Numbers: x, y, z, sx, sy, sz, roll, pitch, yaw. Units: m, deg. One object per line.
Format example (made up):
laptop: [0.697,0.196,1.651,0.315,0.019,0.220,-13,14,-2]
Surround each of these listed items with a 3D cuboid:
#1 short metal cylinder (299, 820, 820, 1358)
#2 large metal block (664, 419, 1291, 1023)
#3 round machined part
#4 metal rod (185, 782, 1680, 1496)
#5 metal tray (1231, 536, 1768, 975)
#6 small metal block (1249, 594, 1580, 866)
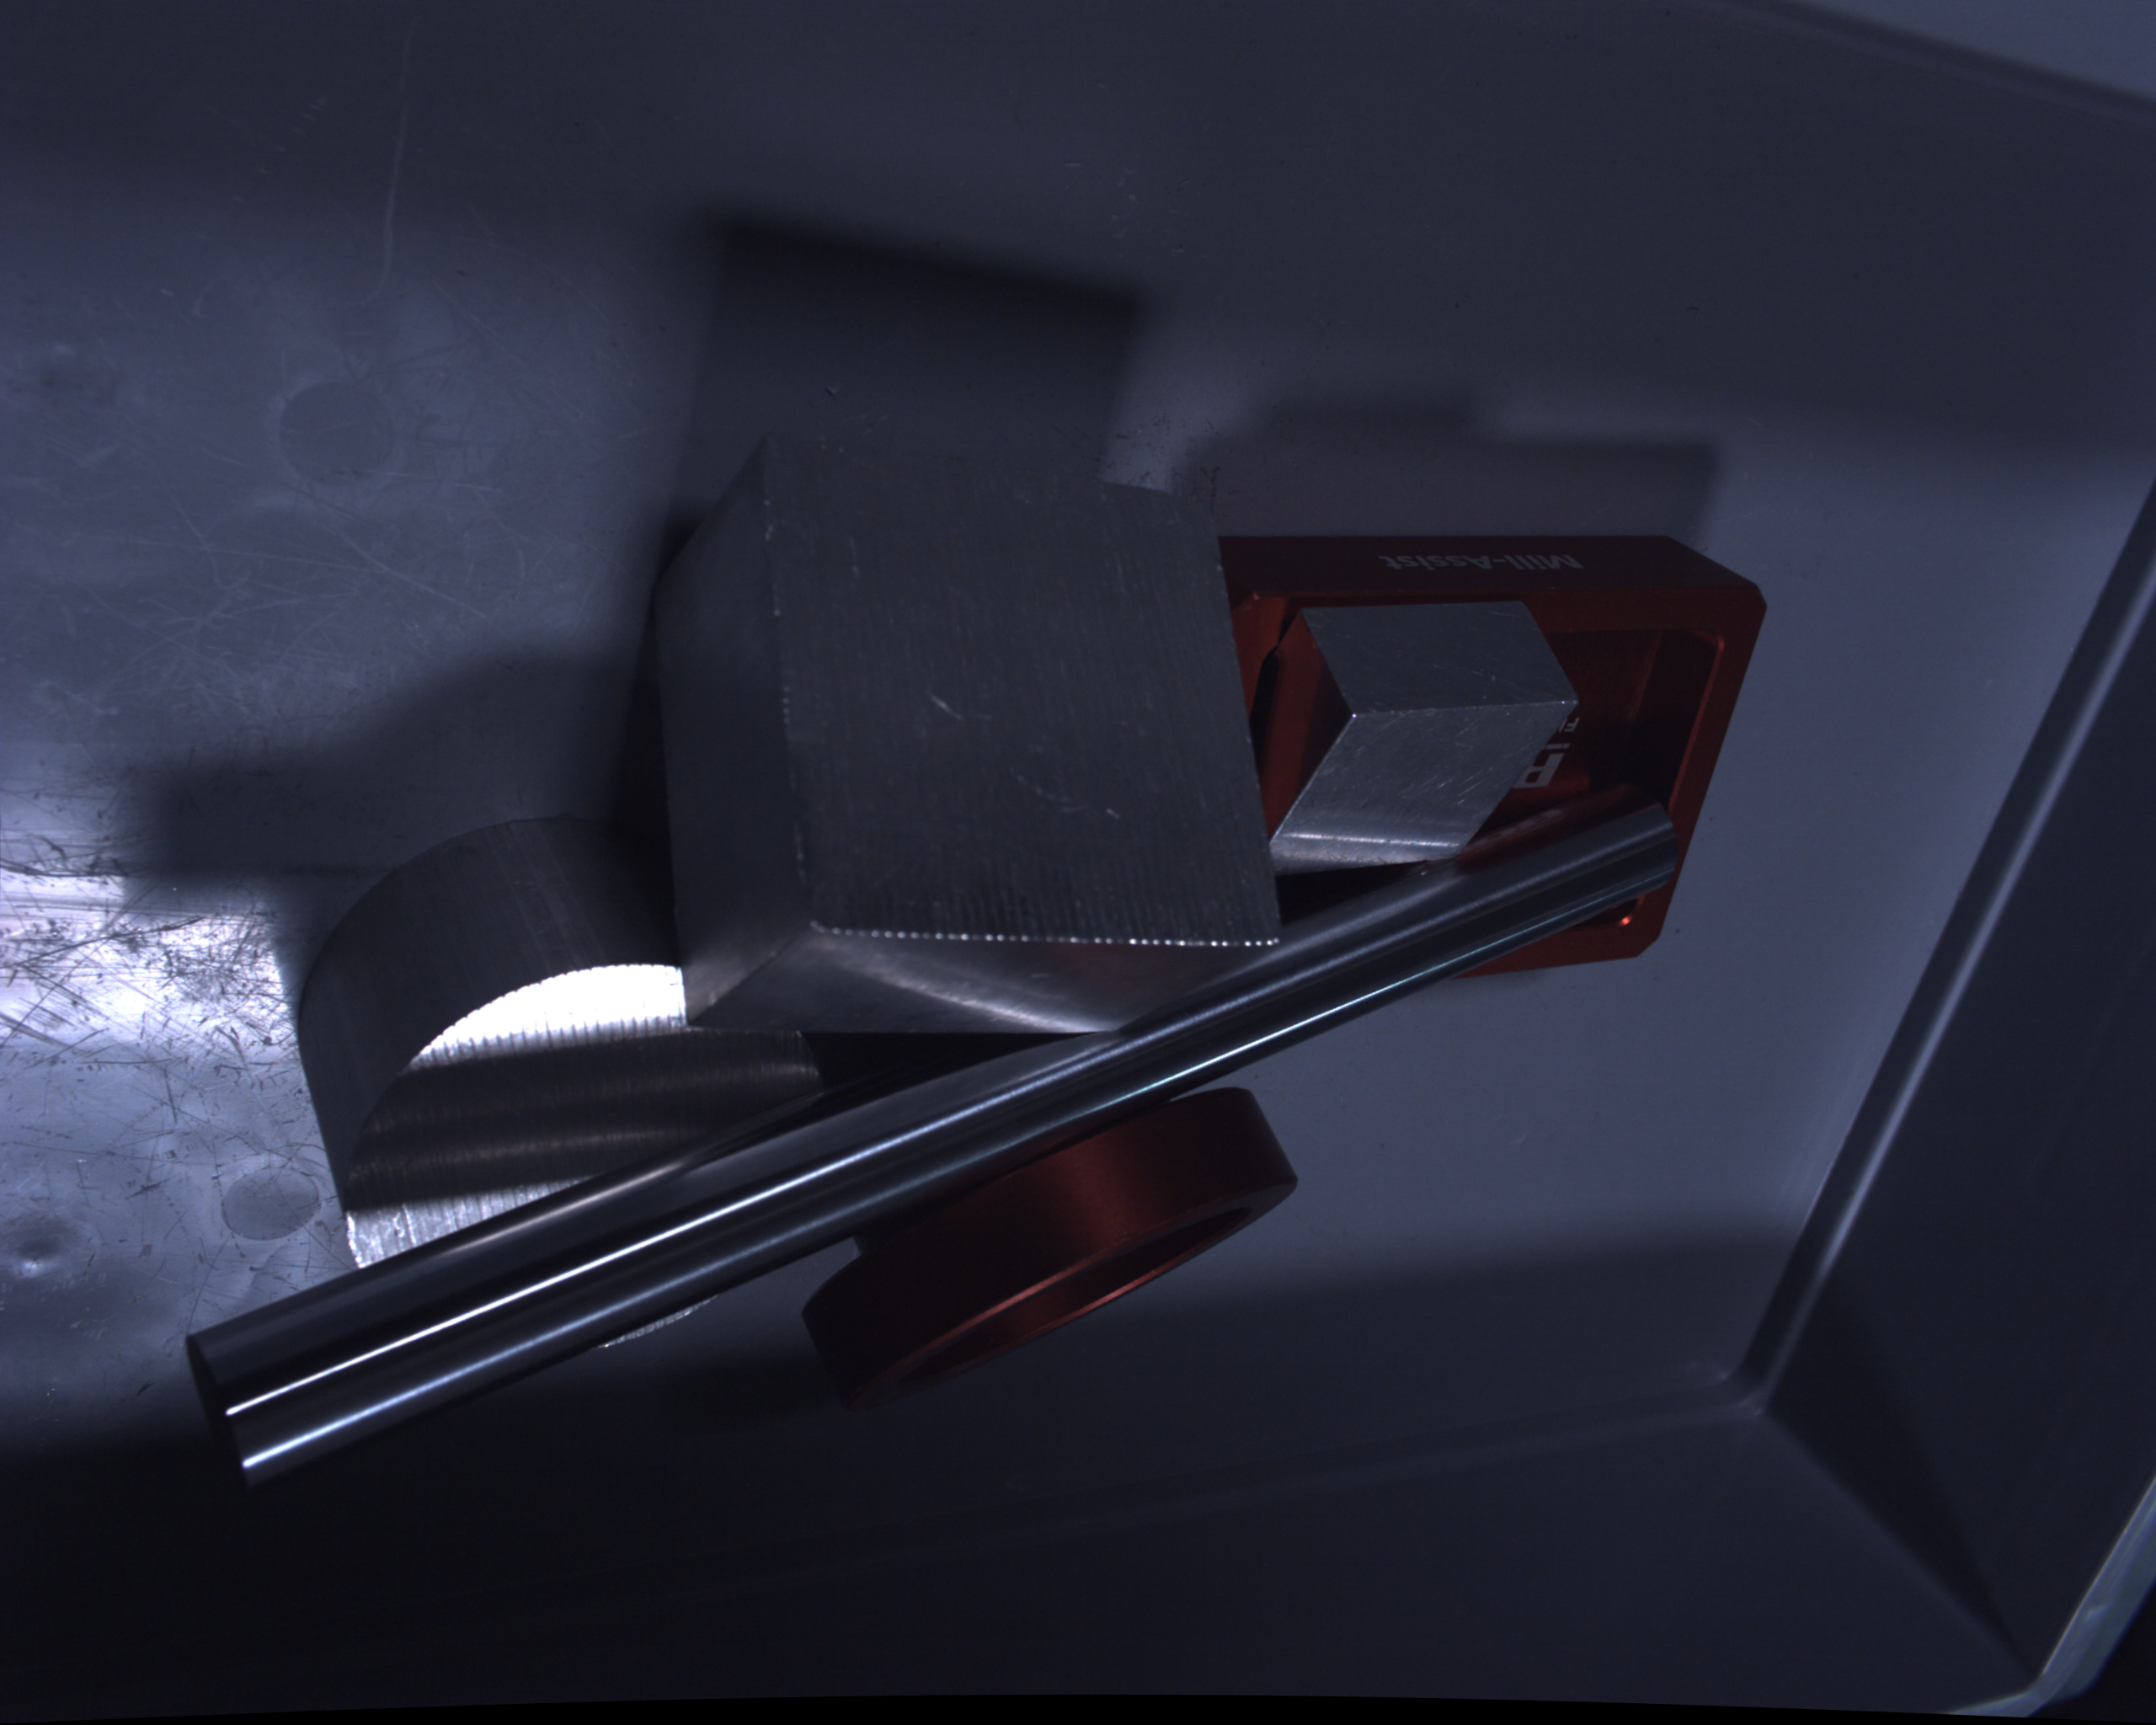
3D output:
short metal cylinder: [-0.091,0.039,0.365,0.081,0.050,0.079,-14,125,-21]
large metal block: [-0.018,-0.019,0.341,0.081,0.080,0.050,3,159,-29]
round machined part: [-0.010,0.068,0.413,0.099,0.042,0.098,-25,164,-8]
metal rod: [-0.001,0.037,0.377,0.302,0.025,0.025,-19,127,-31]
metal tray: [0.073,-0.020,0.432,0.131,0.030,0.089,-5,121,-27]
small metal block: [0.058,-0.025,0.397,0.050,0.025,0.050,-5,147,-26]
